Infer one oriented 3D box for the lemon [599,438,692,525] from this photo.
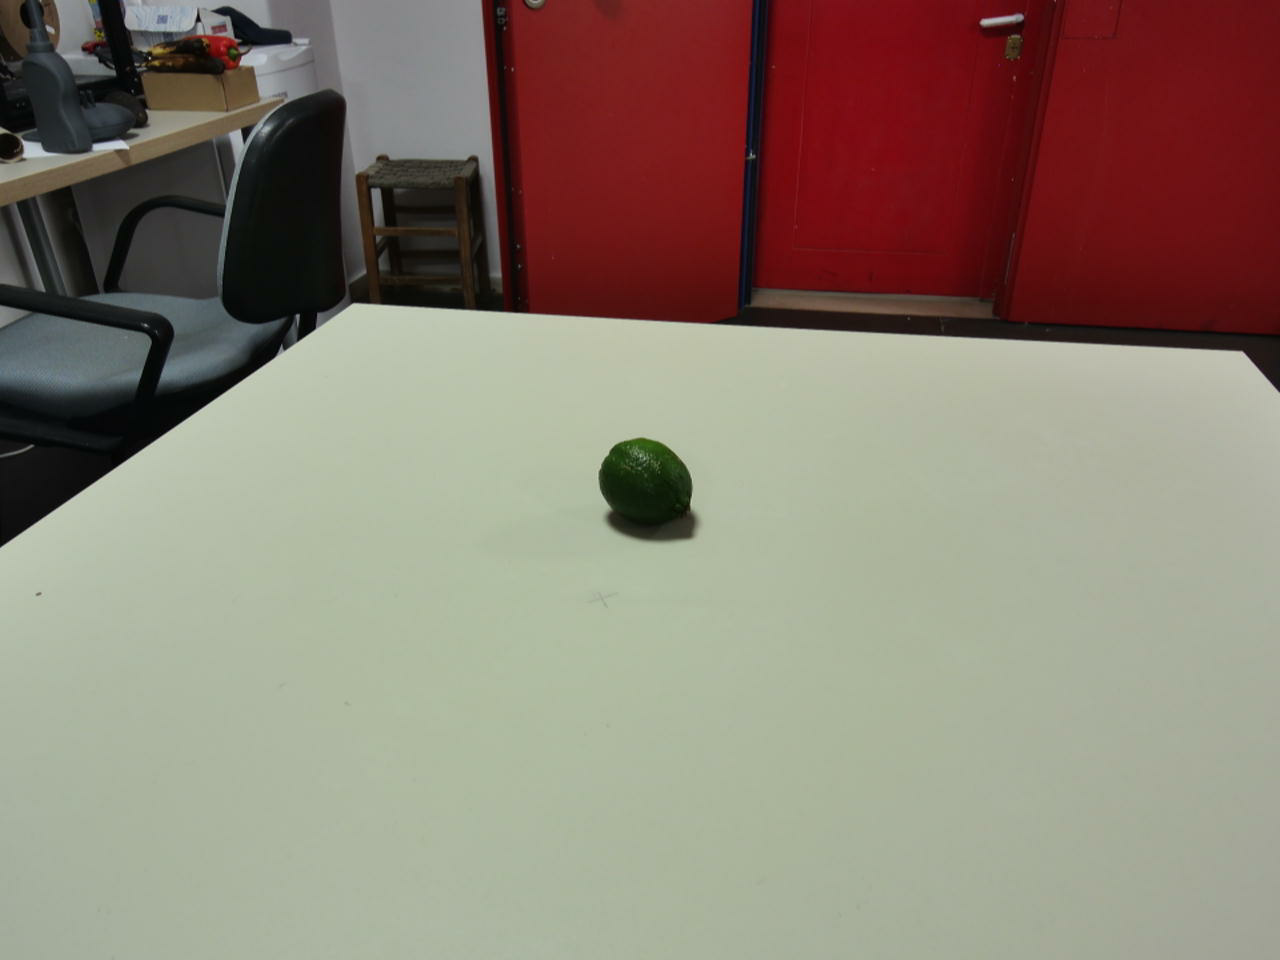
[{"bbox_3d":[0.004,0.000,0.612,0.057,0.051,0.054,2,27,7],"label":"lemon"}]
